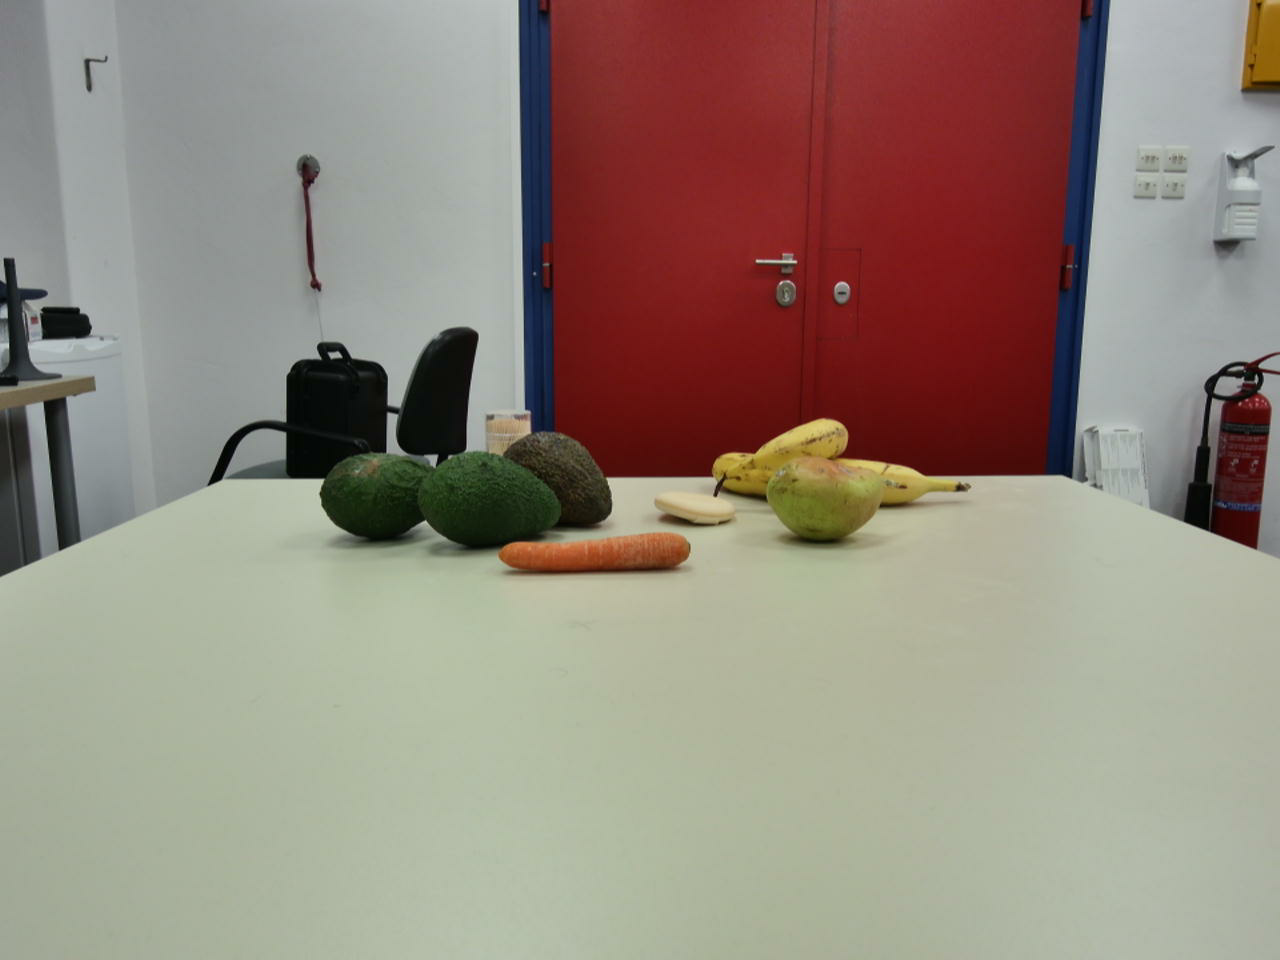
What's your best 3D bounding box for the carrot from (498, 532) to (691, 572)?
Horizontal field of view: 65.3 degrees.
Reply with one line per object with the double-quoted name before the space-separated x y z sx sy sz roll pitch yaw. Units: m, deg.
"carrot" -0.028 0.046 0.637 0.122 0.023 0.024 0 8 -4
